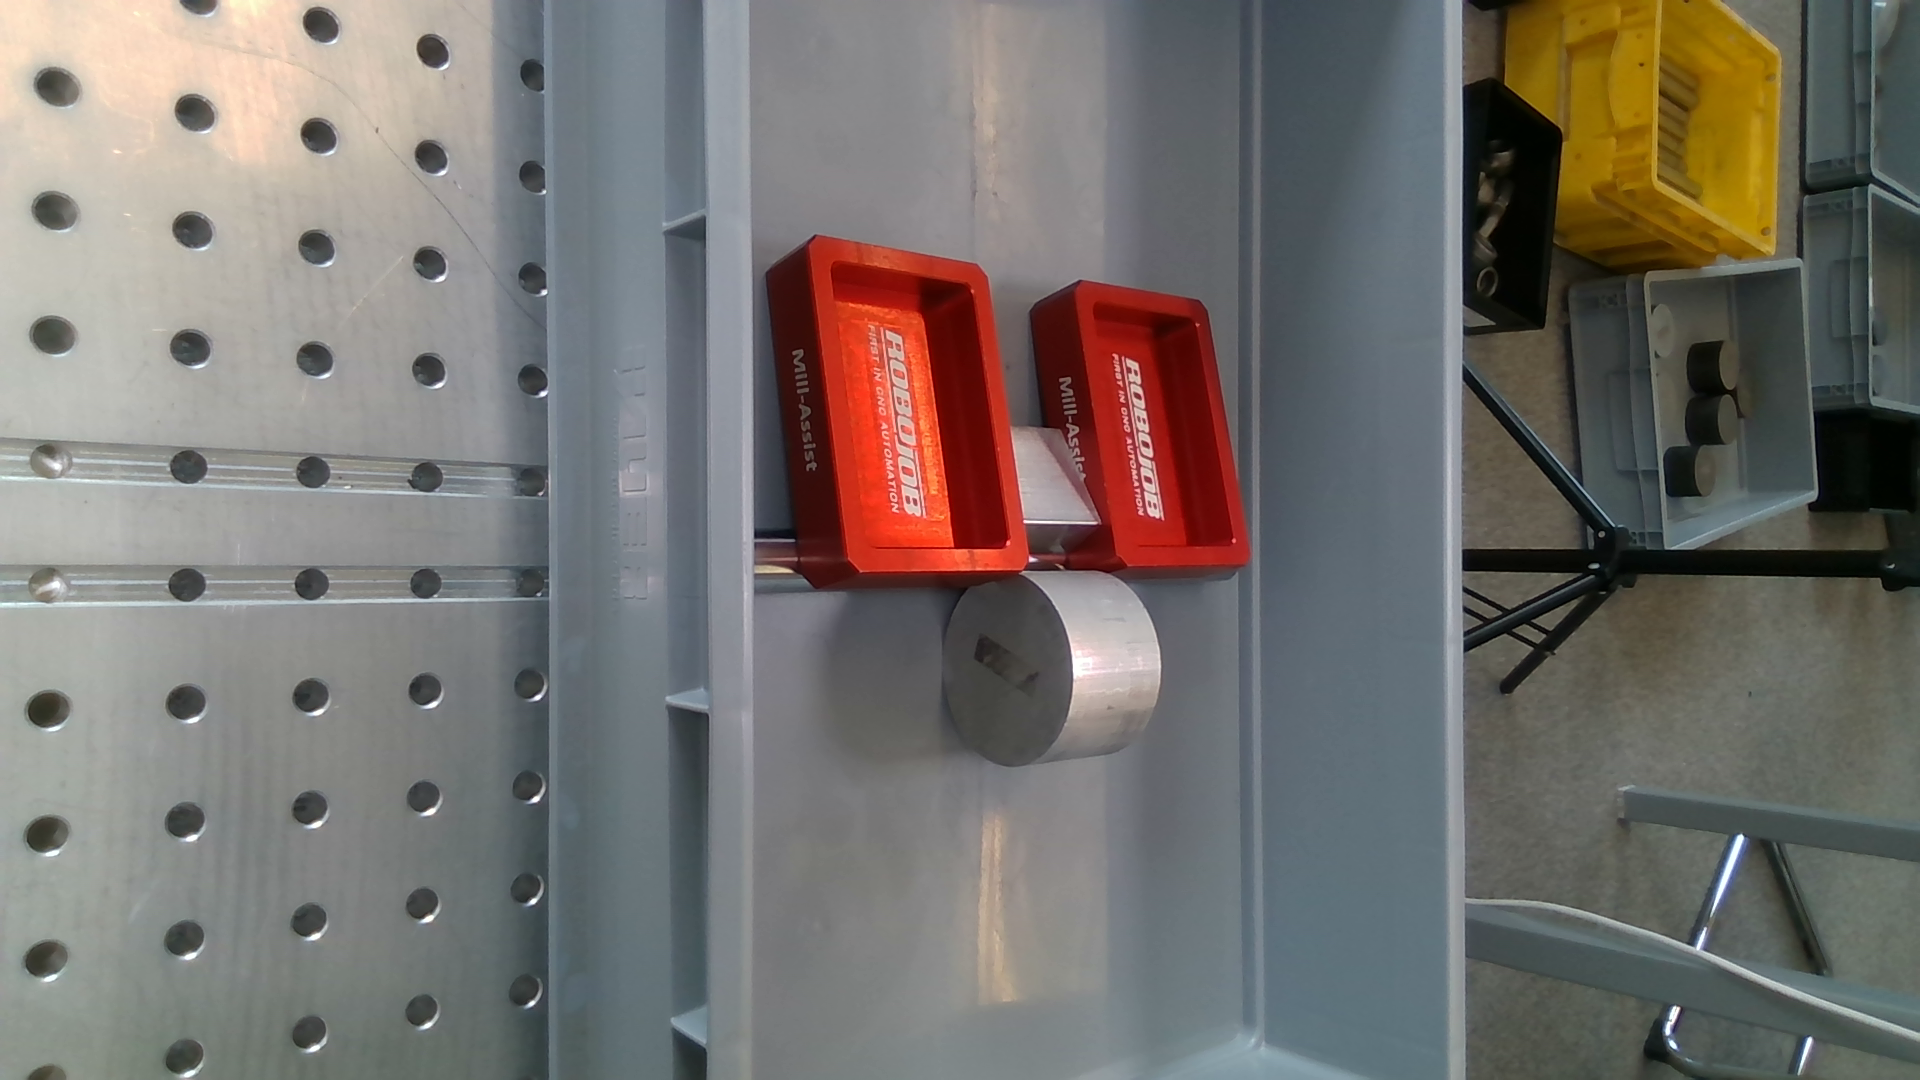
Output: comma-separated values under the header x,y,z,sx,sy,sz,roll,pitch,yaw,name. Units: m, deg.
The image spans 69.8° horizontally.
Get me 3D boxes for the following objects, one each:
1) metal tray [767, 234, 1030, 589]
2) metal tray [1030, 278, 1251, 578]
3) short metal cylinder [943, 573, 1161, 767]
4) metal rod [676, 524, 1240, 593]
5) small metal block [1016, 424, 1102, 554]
x,y,z,sx,sy,sz,roll,pitch,yaw,name
-0.023,-0.048,0.541,0.090,0.030,0.130,0,77,-40,metal tray
0.084,-0.049,0.631,0.090,0.030,0.130,0,78,-40,metal tray
0.037,0.052,0.578,0.050,0.080,0.080,0,90,-40,short metal cylinder
0.018,0.007,0.596,0.300,0.025,0.025,0,90,-40,metal rod
0.026,-0.022,0.591,0.050,0.025,0.050,1,58,-40,small metal block
